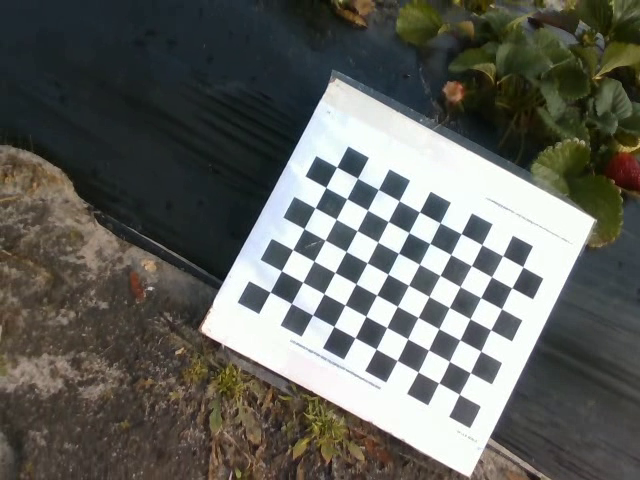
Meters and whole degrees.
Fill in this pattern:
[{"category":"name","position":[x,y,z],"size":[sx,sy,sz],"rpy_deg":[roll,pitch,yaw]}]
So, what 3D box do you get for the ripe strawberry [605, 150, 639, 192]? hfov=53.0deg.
[{"category":"ripe strawberry","position":[0.327,-0.073,0.657],"size":[0.050,0.064,0.043],"rpy_deg":[-29,-3,-7]}]
